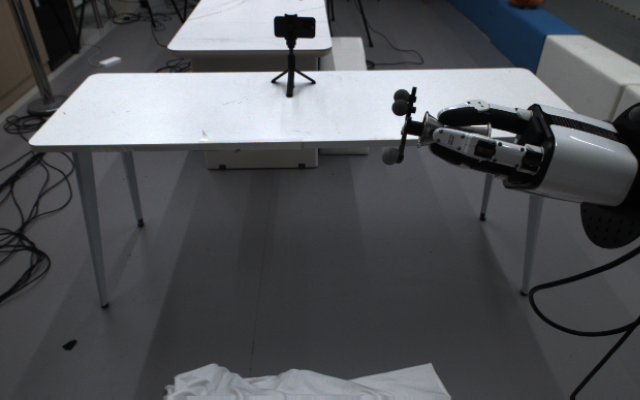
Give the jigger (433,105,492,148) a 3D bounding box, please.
[{"bbox_3d":[0.150,-0.071,0.521,0.071,0.043,0.043,12,36,5],"label":"jigger"}]
